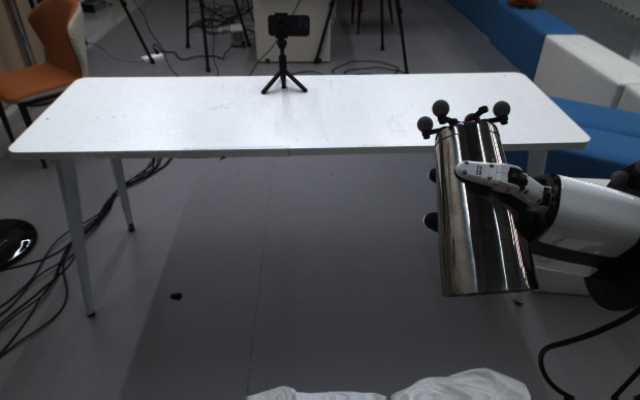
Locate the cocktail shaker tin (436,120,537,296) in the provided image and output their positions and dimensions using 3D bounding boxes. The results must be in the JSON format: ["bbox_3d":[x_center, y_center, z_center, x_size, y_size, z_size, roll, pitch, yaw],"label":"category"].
[{"bbox_3d":[0.164,0.011,0.500,0.093,0.093,0.170,-3,76,-8],"label":"cocktail shaker tin"}]
